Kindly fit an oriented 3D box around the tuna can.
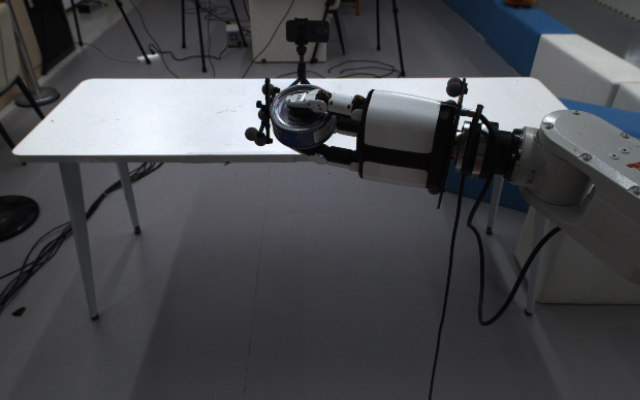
[{"bbox_3d":[-0.022,-0.111,0.633,0.085,0.034,0.085,-2,58,3],"label":"tuna can"}]
